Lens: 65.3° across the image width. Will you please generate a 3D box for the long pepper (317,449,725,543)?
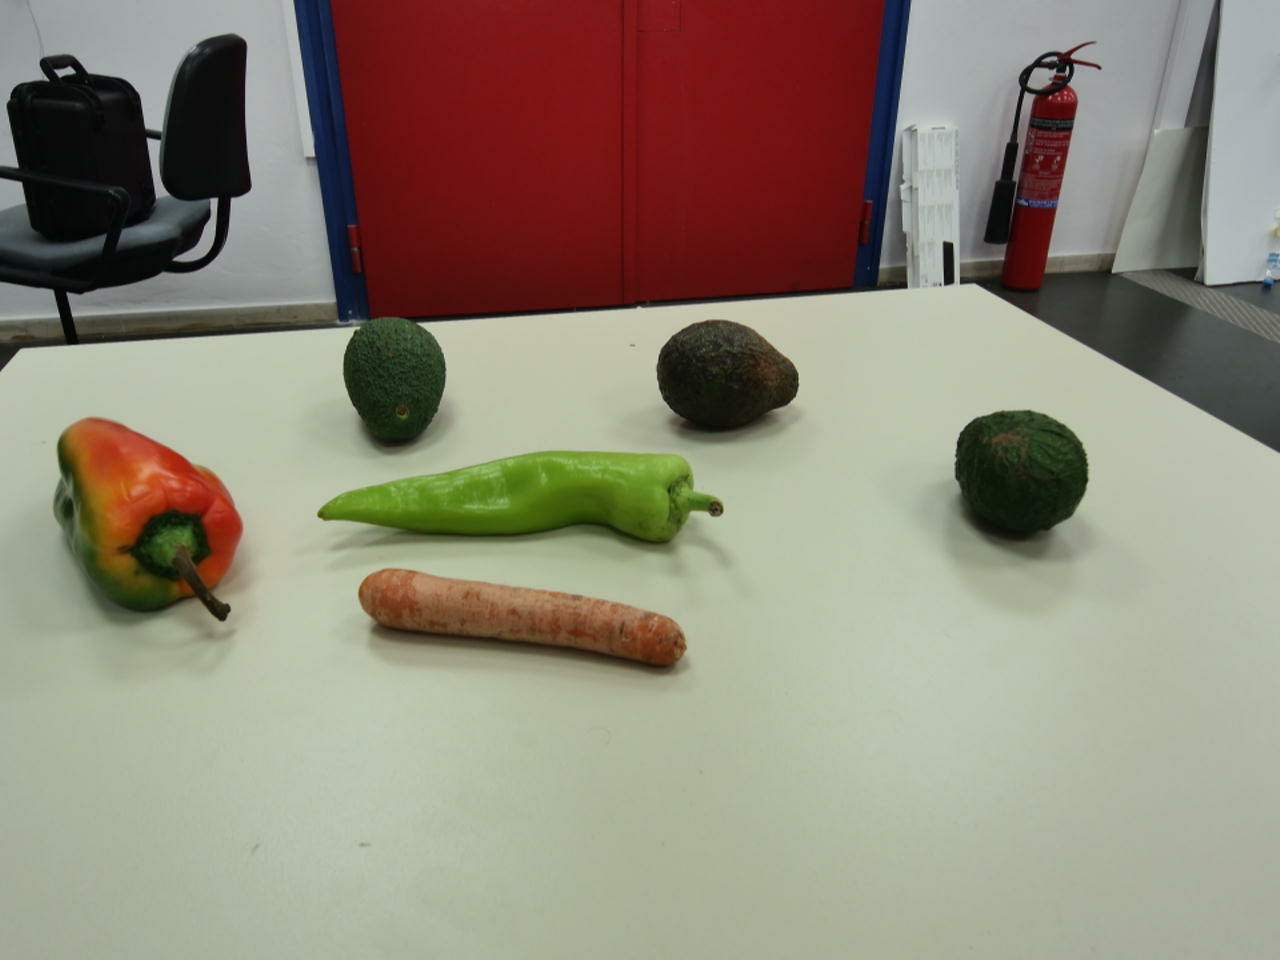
[{"bbox_3d":[-0.058,0.008,0.522,0.205,0.045,0.065,2,26,3],"label":"long pepper"}]
